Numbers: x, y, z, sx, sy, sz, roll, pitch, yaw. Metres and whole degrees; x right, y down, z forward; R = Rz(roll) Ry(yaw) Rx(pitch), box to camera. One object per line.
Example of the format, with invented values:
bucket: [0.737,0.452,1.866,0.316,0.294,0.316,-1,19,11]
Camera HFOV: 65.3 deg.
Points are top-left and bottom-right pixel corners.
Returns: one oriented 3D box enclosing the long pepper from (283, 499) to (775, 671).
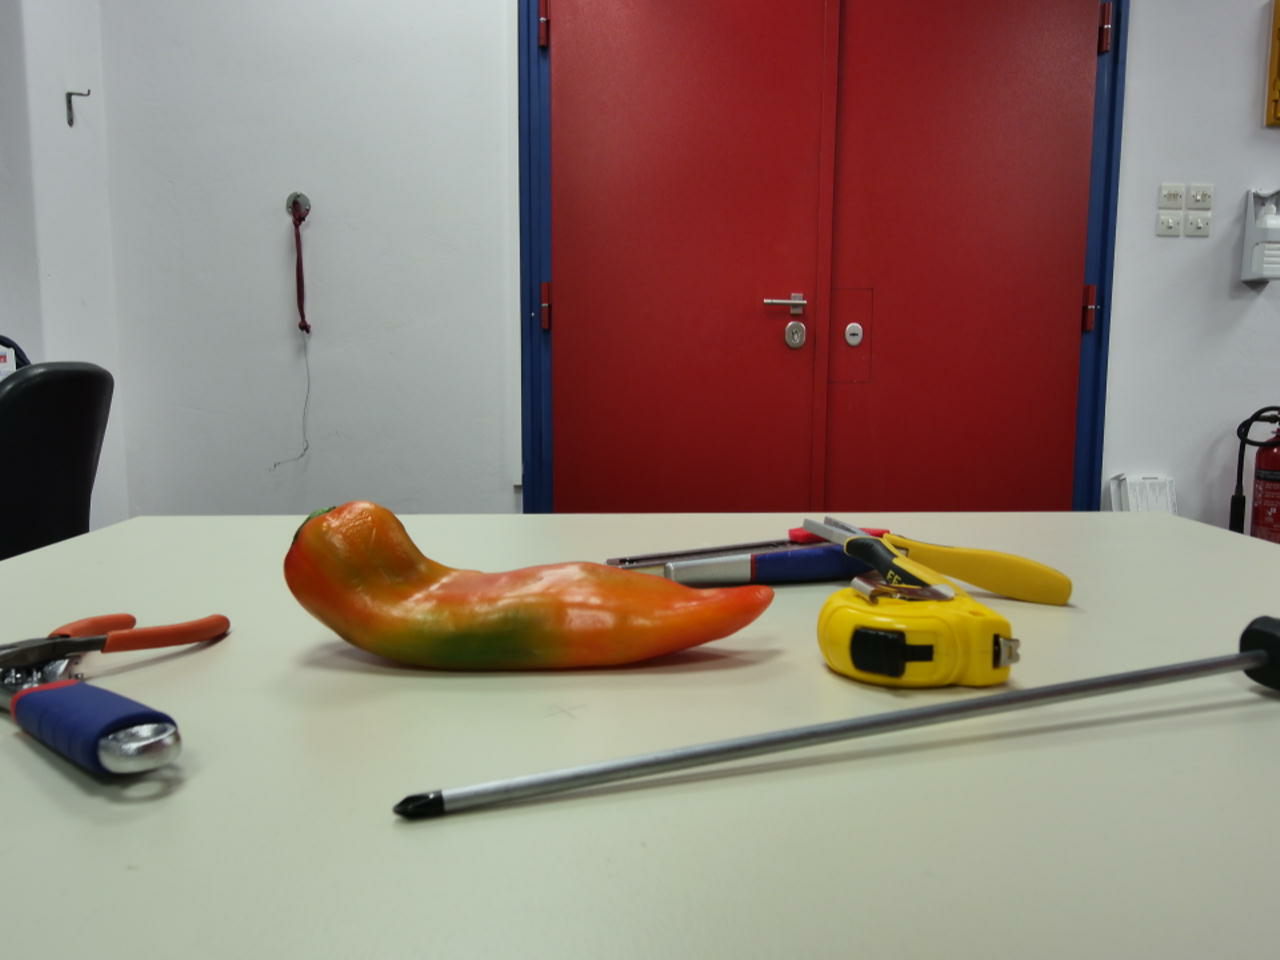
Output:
long pepper: [-0.045,0.041,0.407,0.199,0.065,0.066,0,4,5]
